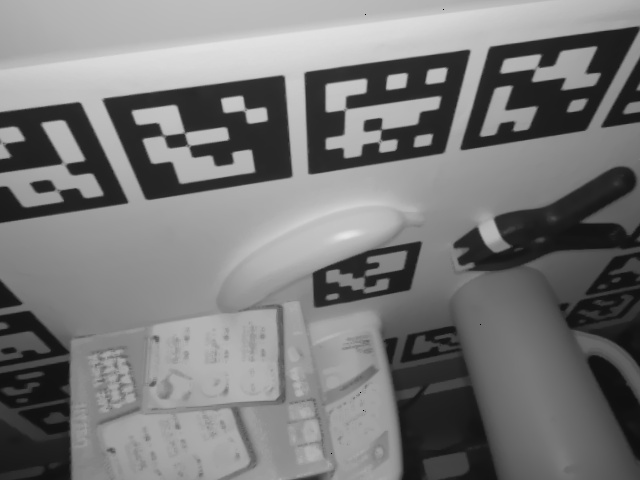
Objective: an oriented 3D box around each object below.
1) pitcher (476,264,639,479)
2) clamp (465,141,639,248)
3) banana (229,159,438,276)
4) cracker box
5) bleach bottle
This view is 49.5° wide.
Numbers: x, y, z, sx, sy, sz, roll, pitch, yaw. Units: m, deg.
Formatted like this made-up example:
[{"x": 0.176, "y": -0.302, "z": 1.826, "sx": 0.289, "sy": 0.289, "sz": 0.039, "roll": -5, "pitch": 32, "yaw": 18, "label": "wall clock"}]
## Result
[{"x": 0.241, "y": 0.145, "z": 0.659, "sx": 0.188, "sy": 0.243, "sz": 0.133, "roll": -16, "pitch": 147, "yaw": 9, "label": "pitcher"}, {"x": 0.213, "y": -0.029, "z": 0.618, "sx": 0.165, "sy": 0.037, "sz": 0.121, "roll": -15, "pitch": 148, "yaw": 6, "label": "clamp"}, {"x": -0.004, "y": -0.020, "z": 0.565, "sx": 0.195, "sy": 0.039, "sz": 0.075, "roll": -27, "pitch": 145, "yaw": 19, "label": "banana"}, {"x": -0.102, "y": 0.132, "z": 0.599, "sx": 0.215, "sy": 0.165, "sz": 0.071, "roll": -8, "pitch": 149, "yaw": -12, "label": "cracker box"}, {"x": 0.052, "y": 0.176, "z": 0.671, "sx": 0.103, "sy": 0.252, "sz": 0.067, "roll": -7, "pitch": 147, "yaw": -9, "label": "bleach bottle"}]
